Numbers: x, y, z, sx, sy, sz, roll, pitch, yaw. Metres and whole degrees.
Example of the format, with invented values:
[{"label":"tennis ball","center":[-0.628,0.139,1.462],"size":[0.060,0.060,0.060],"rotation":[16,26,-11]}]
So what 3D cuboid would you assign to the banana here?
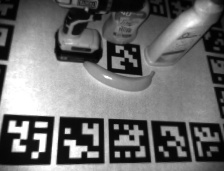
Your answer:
[{"label":"banana","center":[0.035,-0.042,0.568],"size":[0.199,0.038,0.074],"rotation":[8,72,-13]}]

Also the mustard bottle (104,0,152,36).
[{"label":"mustard bottle","center":[0.048,-0.202,0.552],"size":[0.097,0.191,0.058],"rotation":[5,67,-16]}]

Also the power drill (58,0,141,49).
[{"label":"power drill","center":[-0.044,-0.161,0.485],"size":[0.186,0.186,0.057],"rotation":[3,62,-19]}]

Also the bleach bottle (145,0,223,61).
[{"label":"bleach bottle","center":[0.180,-0.145,0.549],"size":[0.103,0.250,0.067],"rotation":[-3,71,-18]}]
